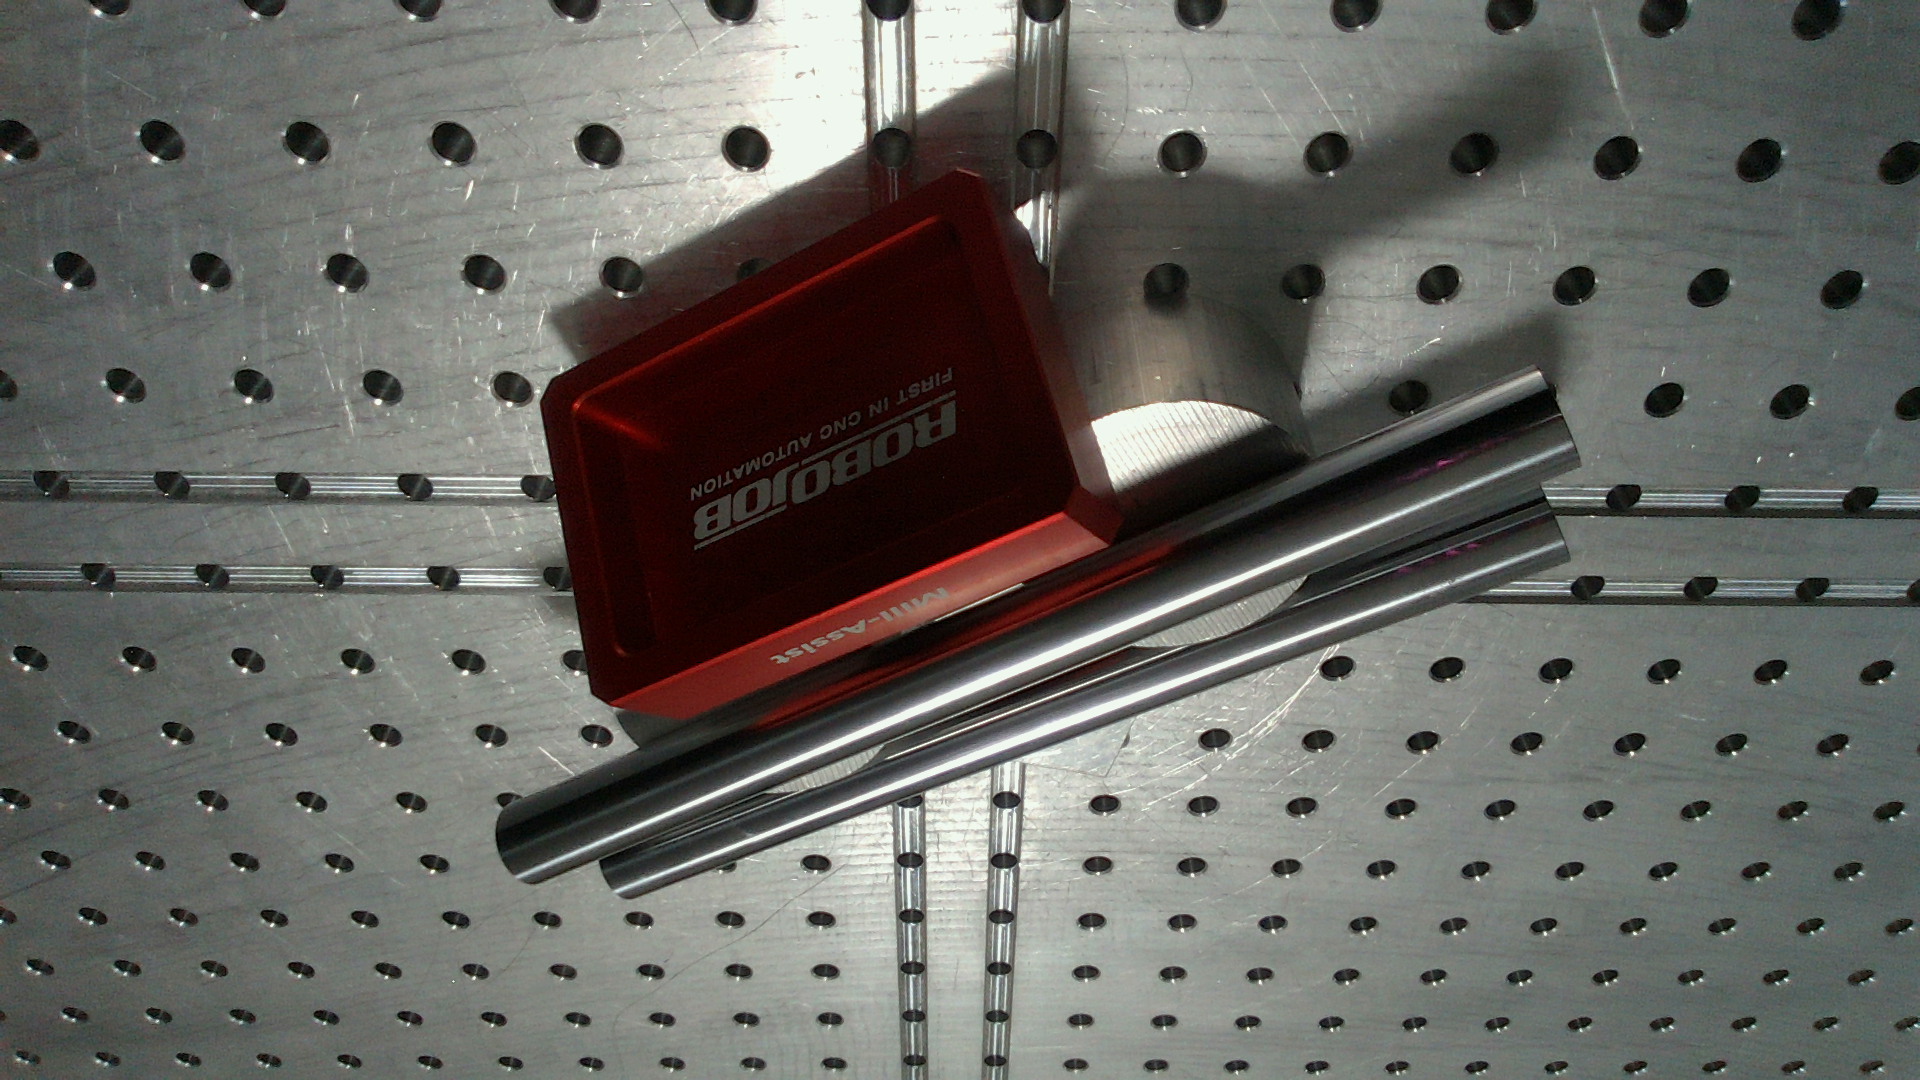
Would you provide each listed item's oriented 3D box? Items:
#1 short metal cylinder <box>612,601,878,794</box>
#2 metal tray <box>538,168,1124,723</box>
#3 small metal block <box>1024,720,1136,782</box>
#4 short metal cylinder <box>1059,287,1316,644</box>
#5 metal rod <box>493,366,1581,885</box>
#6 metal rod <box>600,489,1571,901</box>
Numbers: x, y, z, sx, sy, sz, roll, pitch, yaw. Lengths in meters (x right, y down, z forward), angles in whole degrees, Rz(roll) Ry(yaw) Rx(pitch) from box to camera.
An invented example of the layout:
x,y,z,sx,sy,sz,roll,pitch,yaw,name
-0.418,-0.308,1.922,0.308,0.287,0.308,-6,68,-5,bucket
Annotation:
x,y,z,sx,sy,sz,roll,pitch,yaw,name
-0.058,0.029,0.401,0.080,0.050,0.080,0,130,0,short metal cylinder
-0.036,-0.020,0.332,0.130,0.090,0.030,-23,158,18,metal tray
0.029,0.046,0.431,0.050,0.025,0.050,11,129,-10,small metal block
0.052,-0.019,0.362,0.080,0.050,0.080,0,130,0,short metal cylinder
0.003,0.031,0.352,0.299,0.025,0.025,-24,126,19,metal rod
0.022,0.050,0.401,0.299,0.025,0.025,-23,126,18,metal rod
